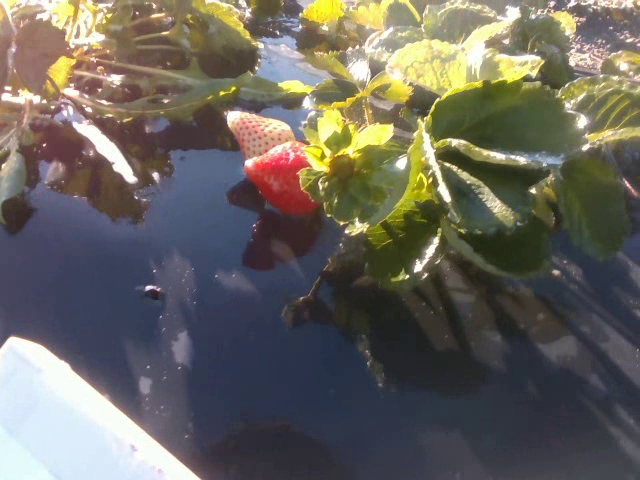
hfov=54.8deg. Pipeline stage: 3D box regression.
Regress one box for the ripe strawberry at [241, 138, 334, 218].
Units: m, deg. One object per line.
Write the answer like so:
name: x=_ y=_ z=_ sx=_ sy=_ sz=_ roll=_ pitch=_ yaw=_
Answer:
ripe strawberry: x=-0.019 y=-0.034 z=0.289 sx=0.040 sy=0.038 sz=0.055 roll=4 pitch=-18 yaw=41
